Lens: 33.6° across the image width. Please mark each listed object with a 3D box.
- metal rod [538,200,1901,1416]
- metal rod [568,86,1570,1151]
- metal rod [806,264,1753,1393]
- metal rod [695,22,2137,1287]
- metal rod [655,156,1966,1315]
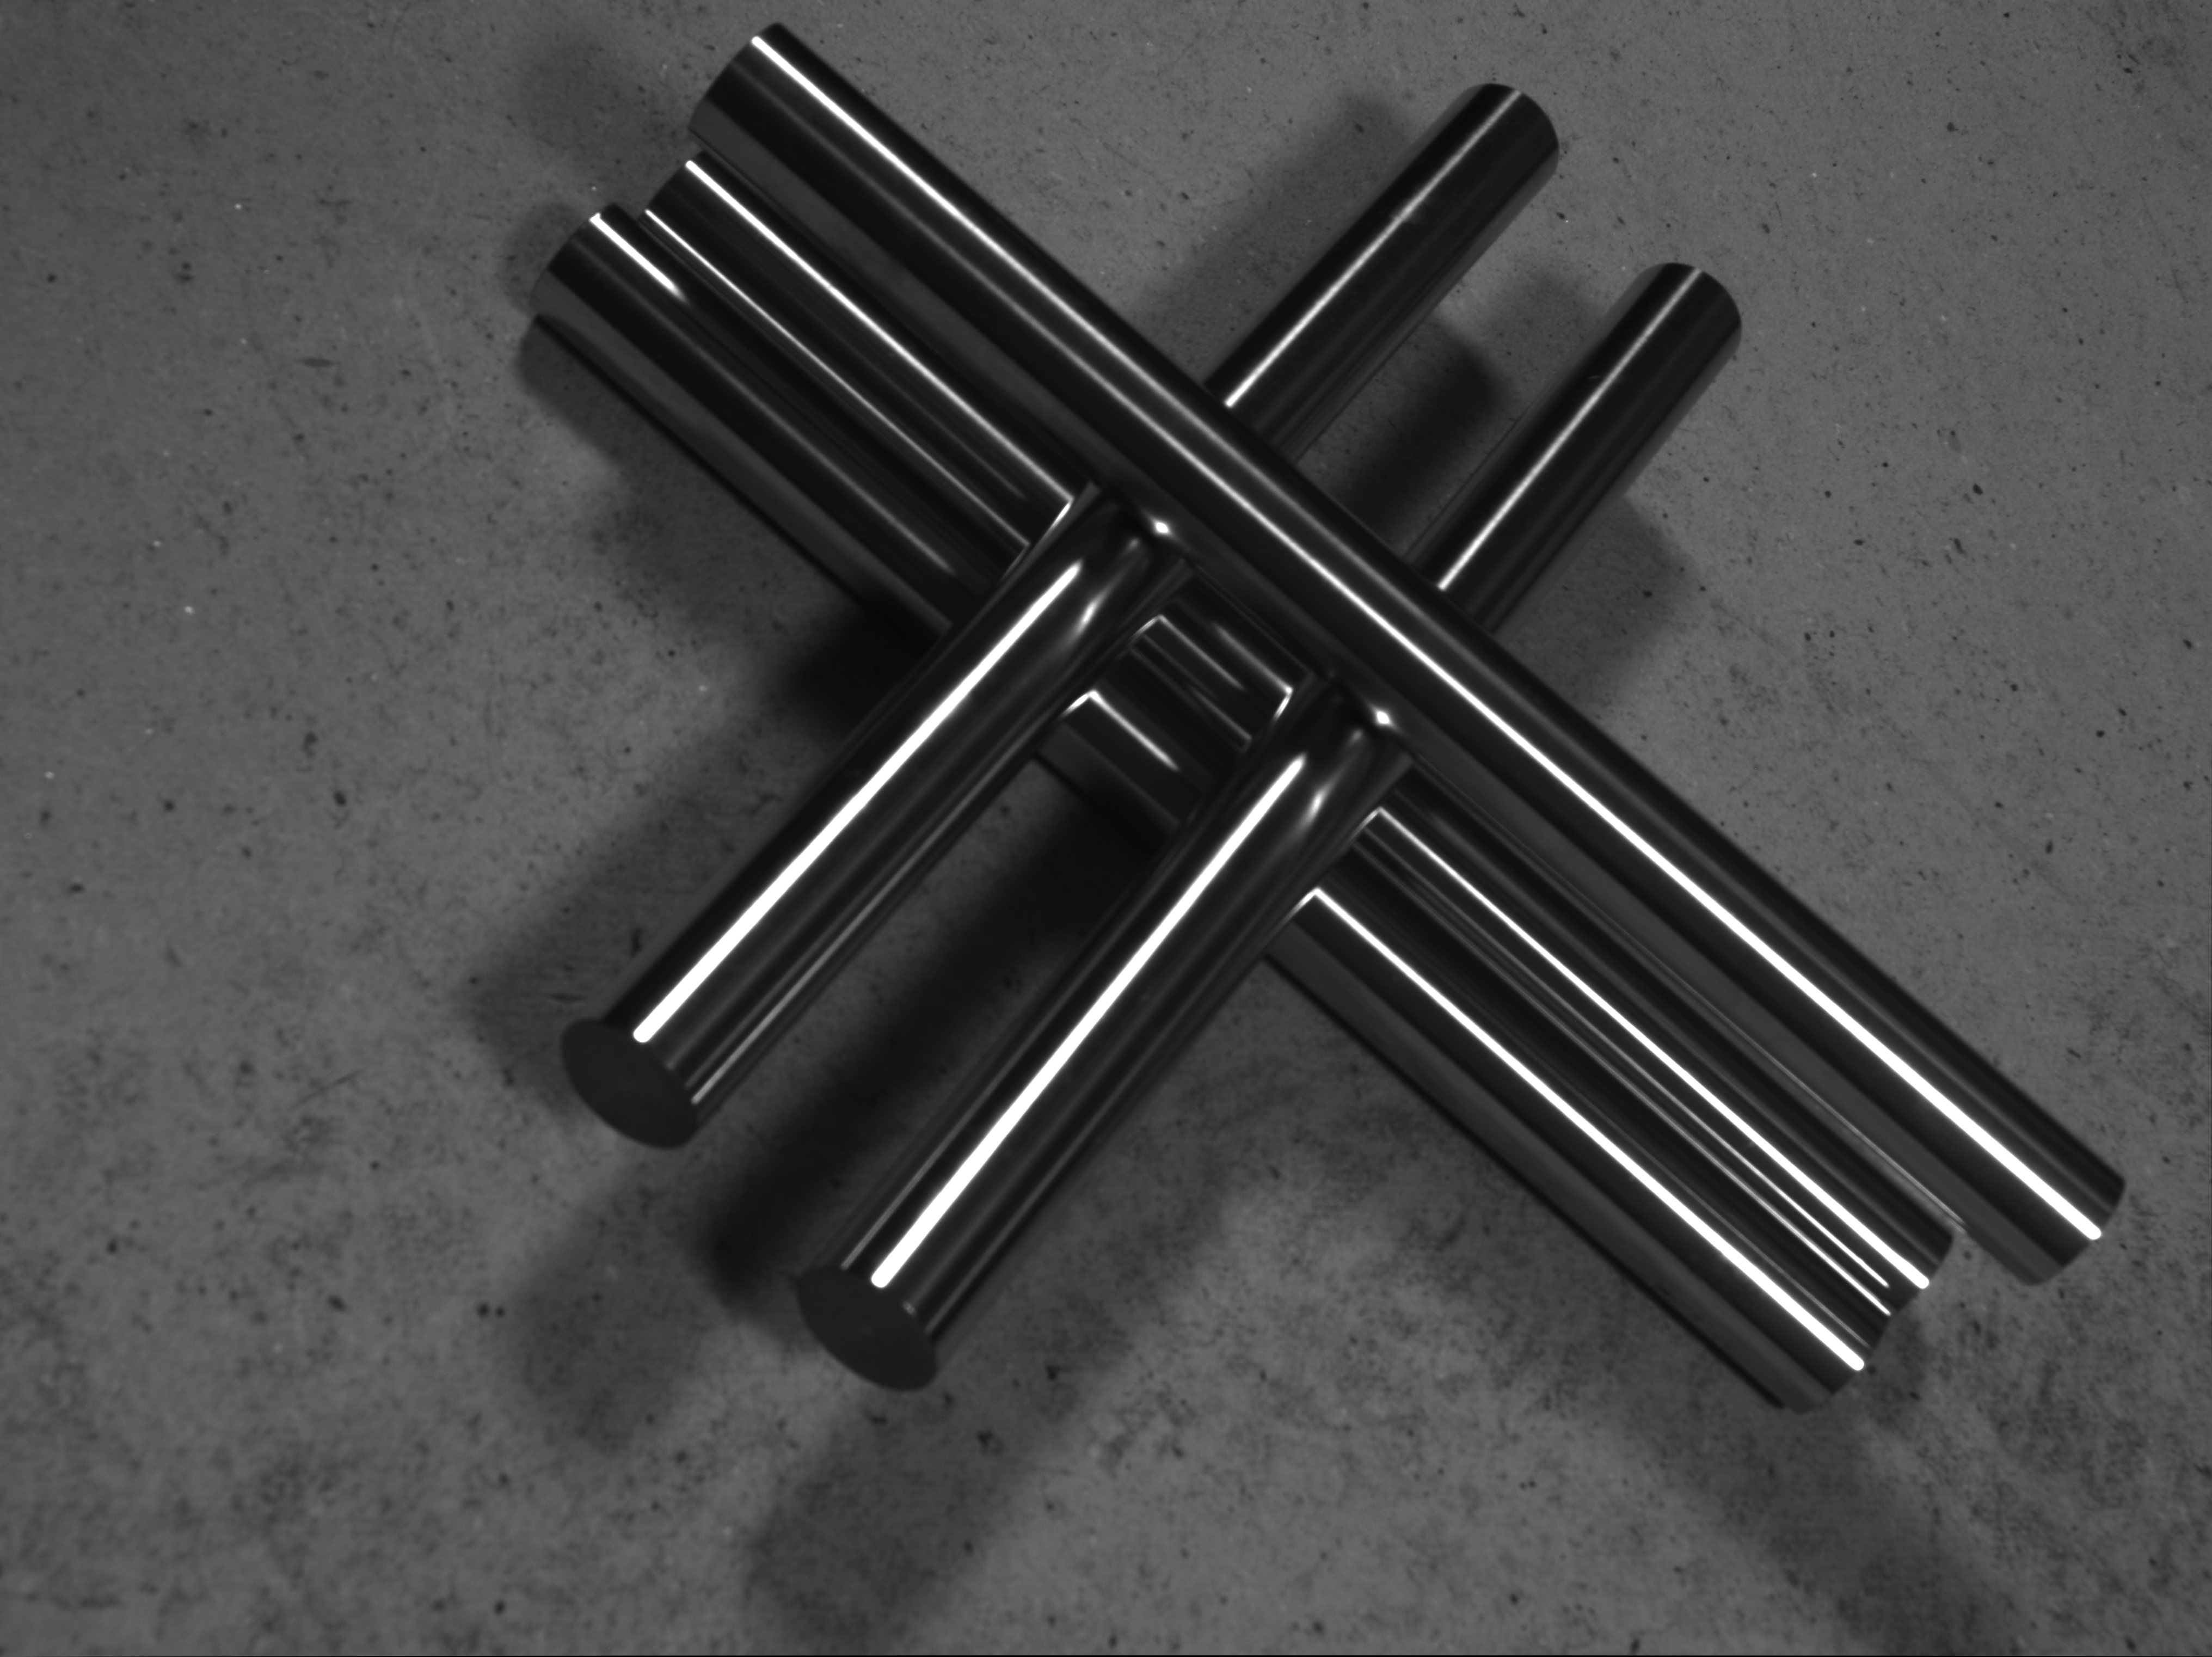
[{"bbox_3d":[0.020,-0.004,0.653,0.300,0.025,0.025,41,51,0],"label":"metal rod"},{"bbox_3d":[0.006,-0.050,0.641,0.025,0.025,0.300,41,51,0],"label":"metal rod"},{"bbox_3d":[0.042,-0.014,0.639,0.025,0.025,0.300,41,51,0],"label":"metal rod"},{"bbox_3d":[0.053,-0.029,0.621,0.300,0.025,0.025,41,51,-1],"label":"metal rod"},{"bbox_3d":[0.035,-0.016,0.669,0.300,0.025,0.025,41,51,0],"label":"metal rod"}]
